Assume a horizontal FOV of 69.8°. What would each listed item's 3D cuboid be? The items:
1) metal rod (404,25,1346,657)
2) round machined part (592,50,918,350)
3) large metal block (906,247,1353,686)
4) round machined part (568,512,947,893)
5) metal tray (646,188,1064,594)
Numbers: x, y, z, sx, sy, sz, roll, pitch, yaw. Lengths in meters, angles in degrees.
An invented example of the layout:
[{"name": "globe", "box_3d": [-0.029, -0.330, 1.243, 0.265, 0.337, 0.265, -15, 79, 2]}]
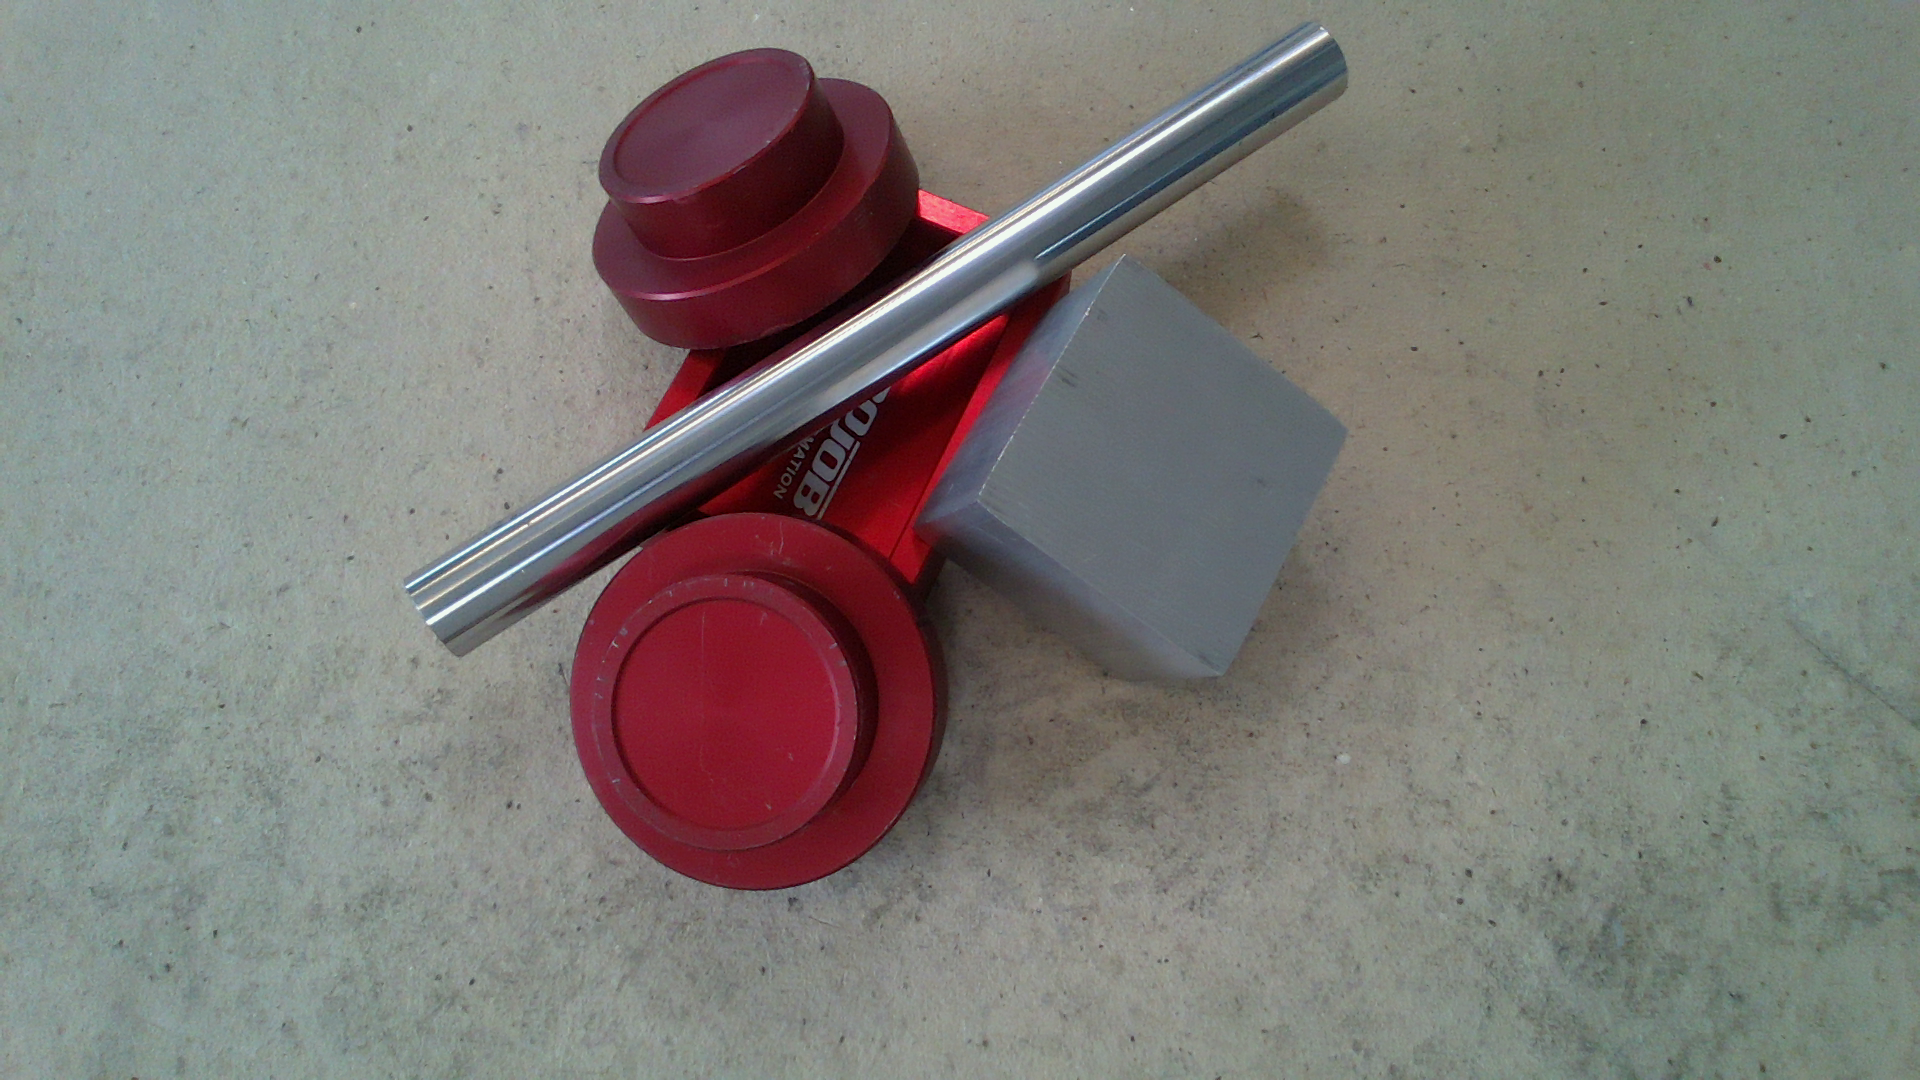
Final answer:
[{"name": "metal rod", "box_3d": [-0.014, -0.062, 0.386, 0.300, 0.025, 0.025, -34, 73, -12]}, {"name": "round machined part", "box_3d": [-0.065, -0.105, 0.402, 0.098, 0.042, 0.098, -14, 47, 16]}, {"name": "large metal block", "box_3d": [0.046, -0.017, 0.372, 0.080, 0.050, 0.080, 35, 71, -13]}, {"name": "round machined part", "box_3d": [-0.054, 0.042, 0.352, 0.098, 0.042, 0.098, 0, 90, 7]}, {"name": "metal tray", "box_3d": [-0.032, -0.043, 0.408, 0.090, 0.030, 0.130, 23, 72, 8]}]
